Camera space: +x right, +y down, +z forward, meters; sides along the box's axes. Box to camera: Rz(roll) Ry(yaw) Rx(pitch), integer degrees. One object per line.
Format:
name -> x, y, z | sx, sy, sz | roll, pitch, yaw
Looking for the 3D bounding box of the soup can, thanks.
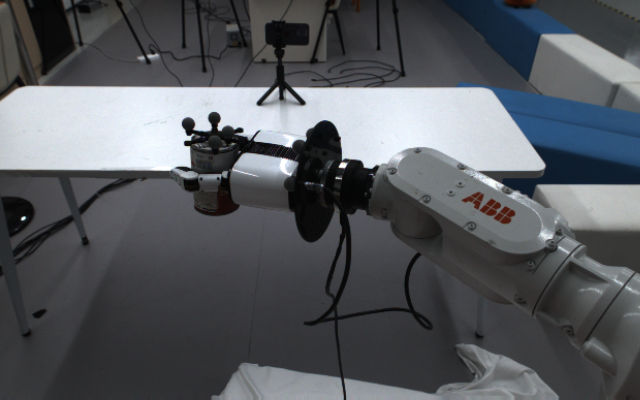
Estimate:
soup can -> -0.146, -0.036, 0.681 | 0.067, 0.101, 0.067 | 4, 31, -2
